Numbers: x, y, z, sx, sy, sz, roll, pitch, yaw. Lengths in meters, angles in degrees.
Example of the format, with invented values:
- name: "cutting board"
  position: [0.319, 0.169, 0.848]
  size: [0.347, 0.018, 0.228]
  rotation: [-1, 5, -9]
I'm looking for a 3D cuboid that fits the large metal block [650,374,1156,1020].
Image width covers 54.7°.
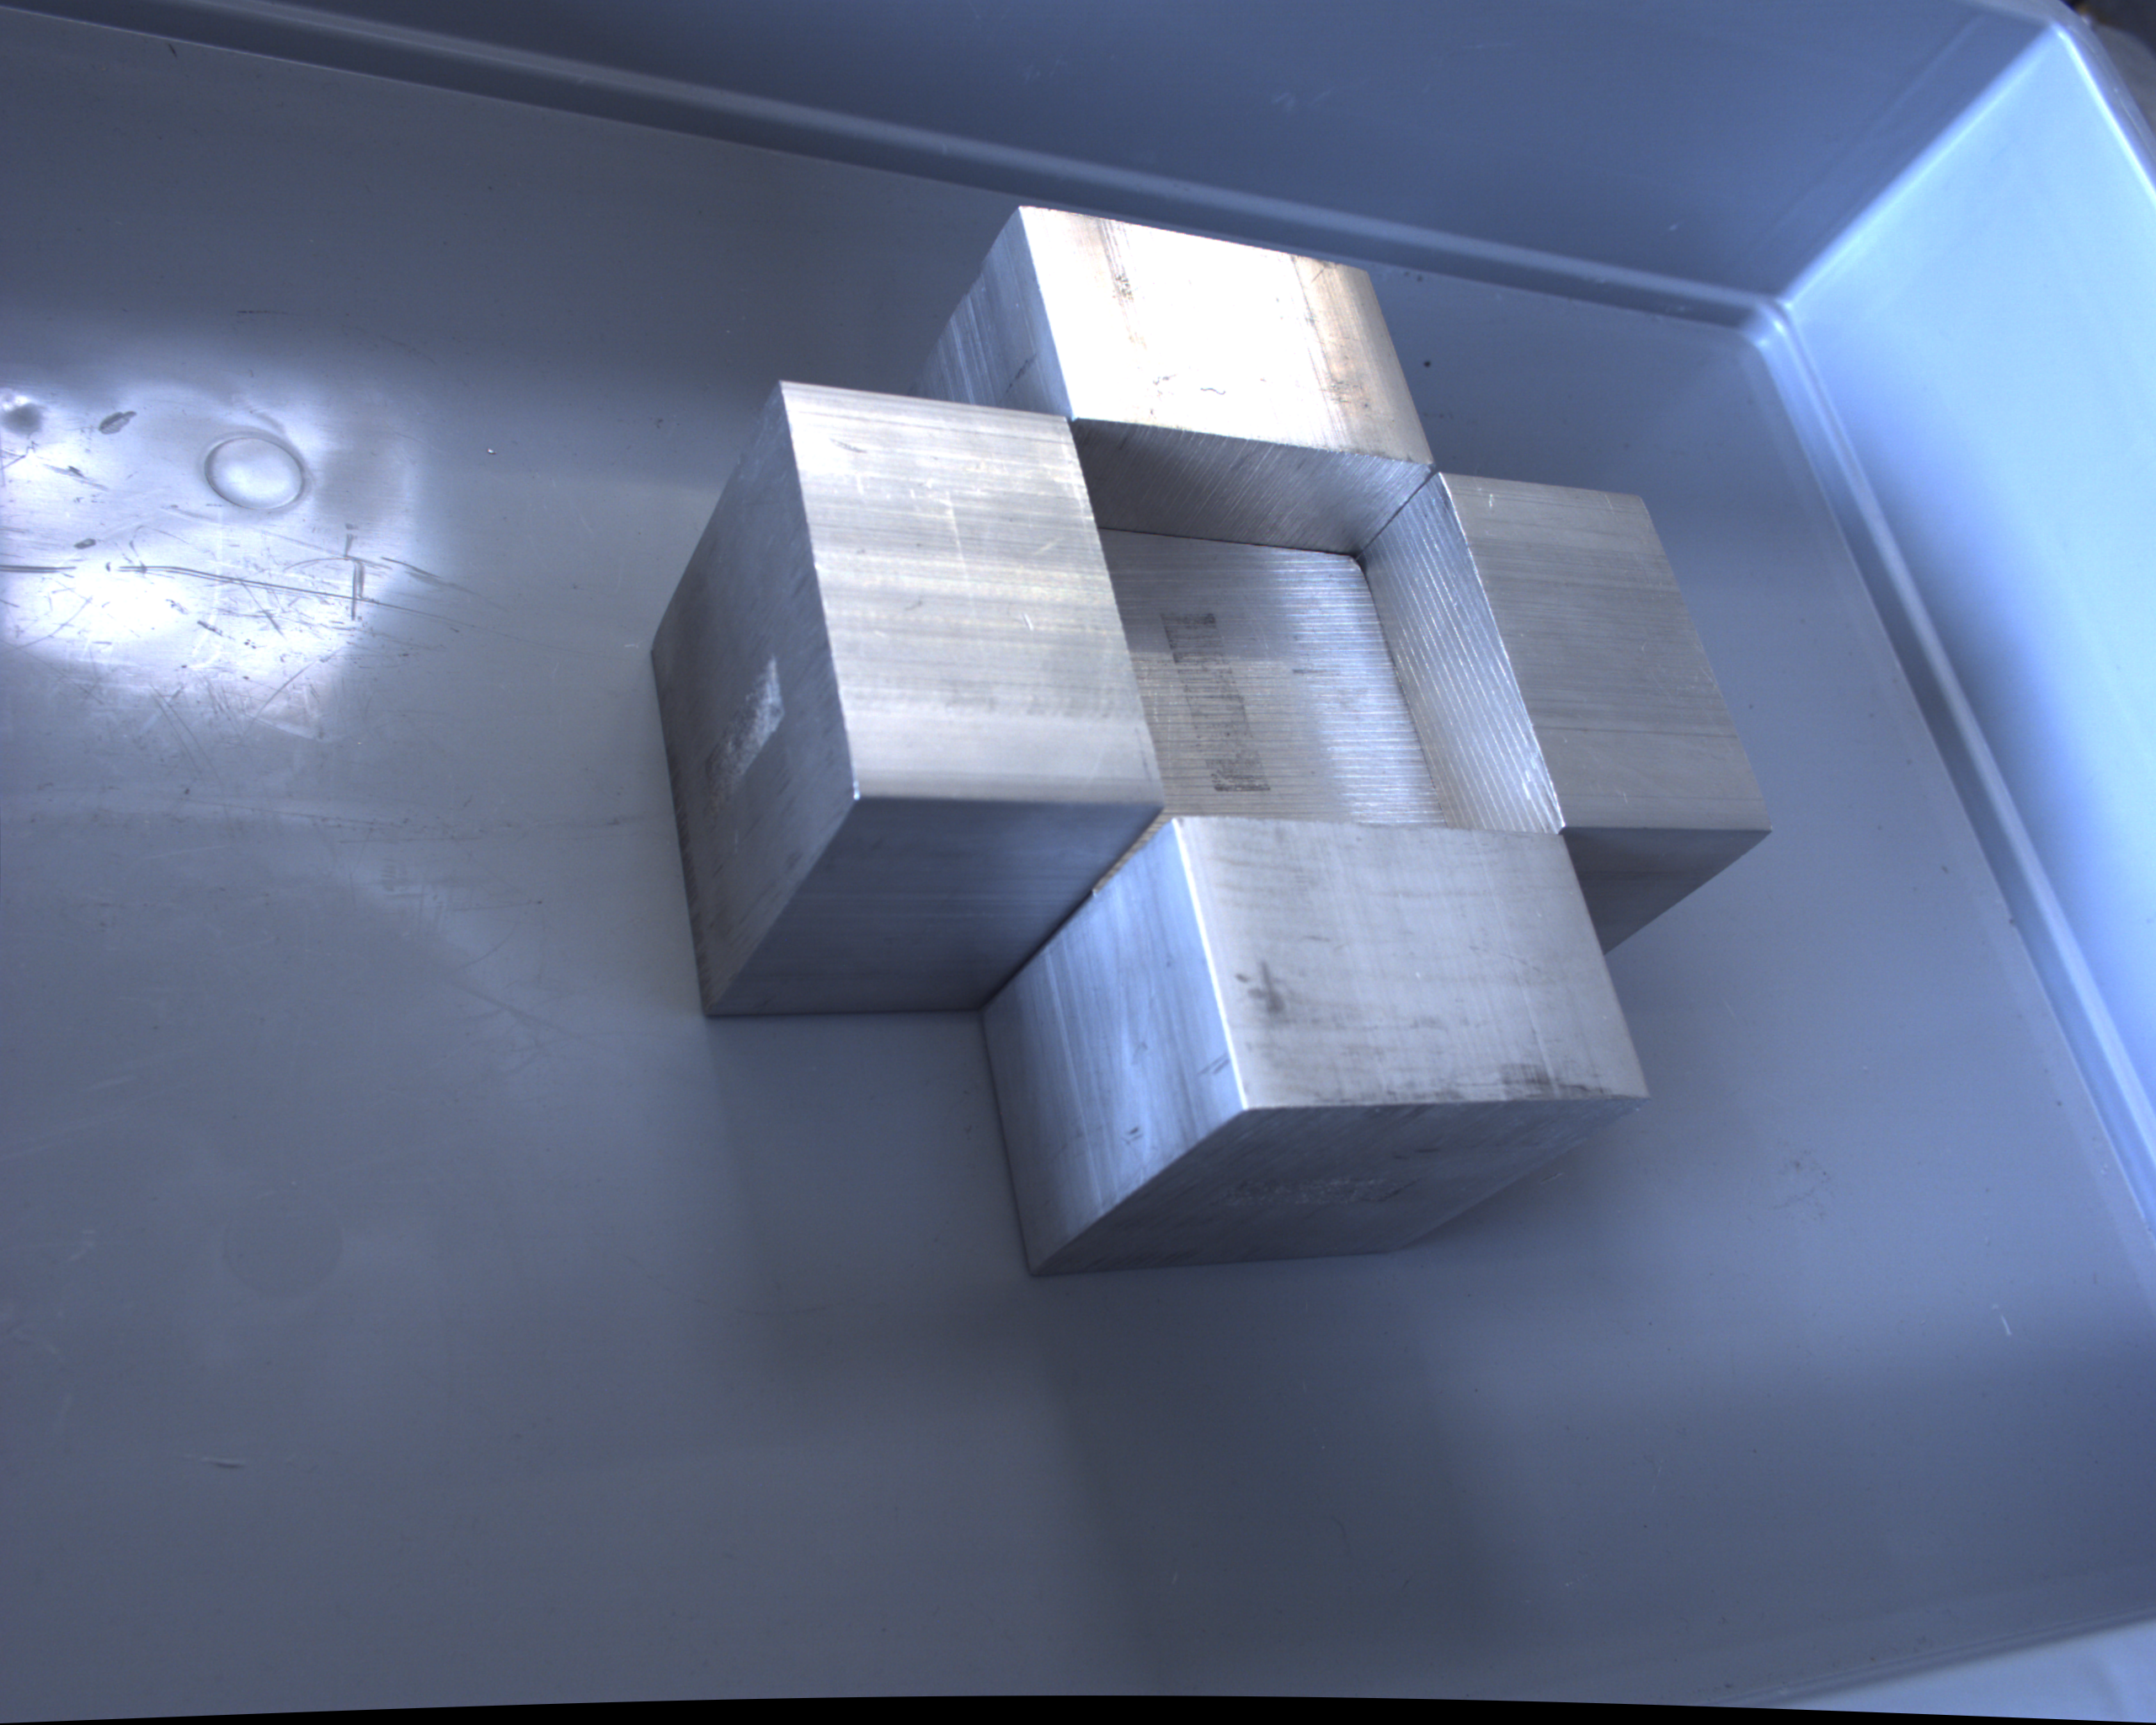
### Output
- name: "large metal block"
  position: [-0.035, -0.026, 0.366]
  size: [0.050, 0.080, 0.080]
  rotation: [1, 62, -28]

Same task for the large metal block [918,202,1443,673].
- name: "large metal block"
  position: [0.013, -0.081, 0.424]
  size: [0.081, 0.080, 0.050]
  rotation: [1, 62, -28]

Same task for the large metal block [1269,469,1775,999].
- name: "large metal block"
  position: [0.083, -0.022, 0.427]
  size: [0.050, 0.080, 0.080]
  rotation: [1, 62, -28]

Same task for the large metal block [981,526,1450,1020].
- name: "large metal block"
  position: [0.020, -0.017, 0.407]
  size: [0.081, 0.050, 0.080]
  rotation: [1, 62, -28]

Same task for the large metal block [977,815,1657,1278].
- name: "large metal block"
  position: [0.038, 0.034, 0.368]
  size: [0.081, 0.080, 0.050]
  rotation: [2, 61, -27]
